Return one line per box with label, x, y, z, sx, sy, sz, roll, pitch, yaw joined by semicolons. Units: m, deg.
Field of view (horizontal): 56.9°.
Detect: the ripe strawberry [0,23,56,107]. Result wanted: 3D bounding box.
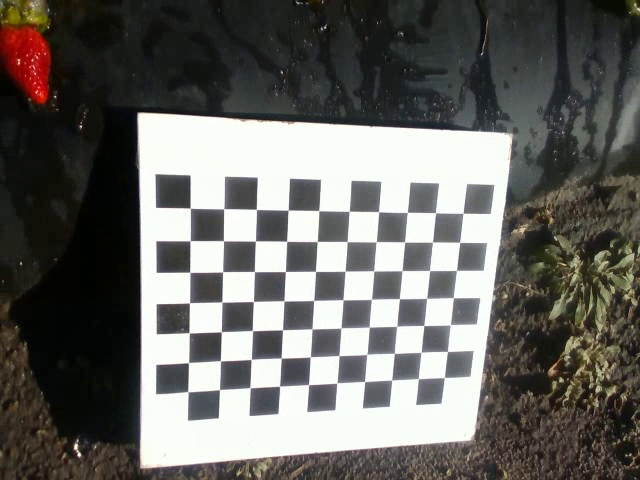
ripe strawberry;-0.186;-0.109;0.370;0.041;0.052;0.040;-18;9;-12
